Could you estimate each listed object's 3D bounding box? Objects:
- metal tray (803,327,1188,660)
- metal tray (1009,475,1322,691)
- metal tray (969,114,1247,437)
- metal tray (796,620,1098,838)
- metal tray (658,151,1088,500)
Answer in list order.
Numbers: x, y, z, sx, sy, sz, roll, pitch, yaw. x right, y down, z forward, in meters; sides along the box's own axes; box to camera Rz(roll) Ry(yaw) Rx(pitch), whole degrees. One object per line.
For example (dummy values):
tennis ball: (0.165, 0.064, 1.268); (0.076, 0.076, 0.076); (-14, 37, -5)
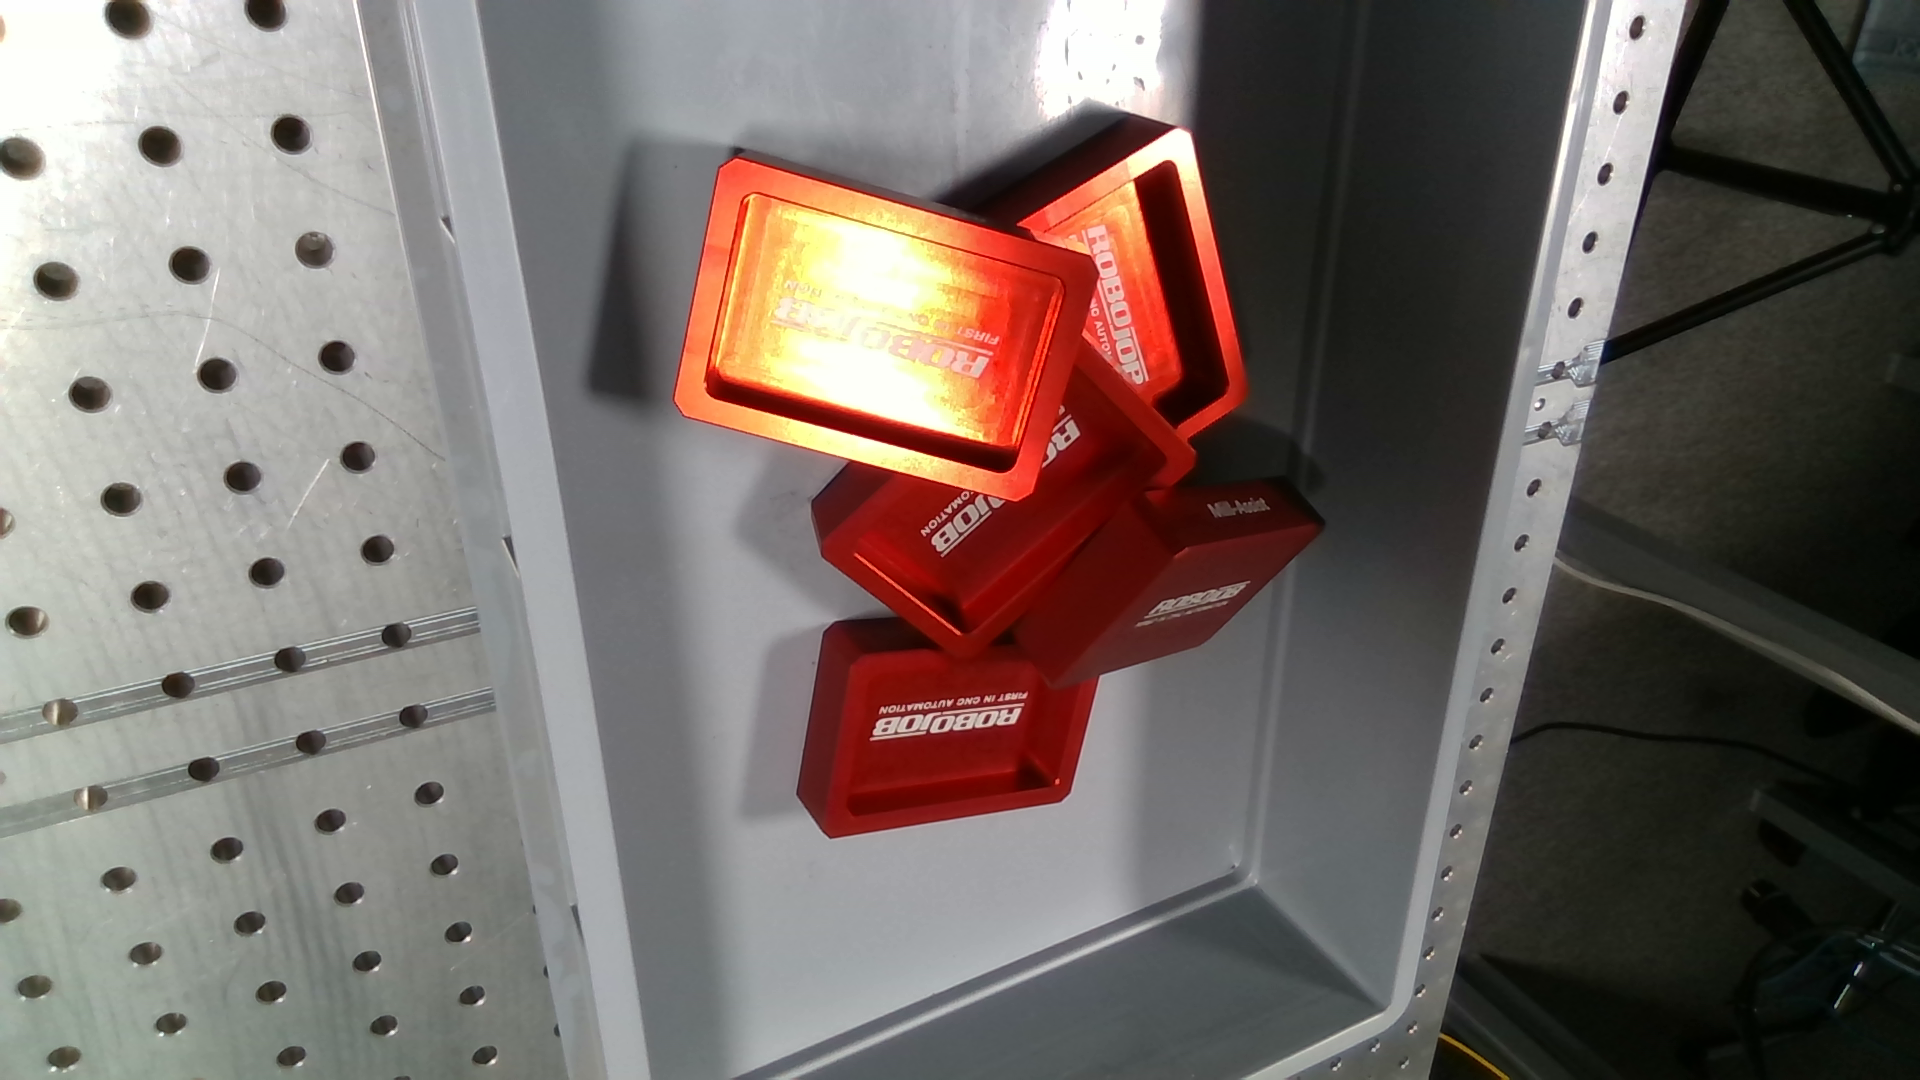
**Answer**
metal tray: (0.013, -0.022, 0.544); (0.130, 0.030, 0.090); (-42, 124, 13)
metal tray: (0.091, 0.016, 0.596); (0.130, 0.030, 0.090); (-8, 144, -49)
metal tray: (0.062, -0.094, 0.563); (0.090, 0.030, 0.130); (-32, 127, -13)
metal tray: (-0.003, 0.080, 0.617); (0.130, 0.030, 0.090); (-2, 116, -31)
metal tray: (-0.031, -0.074, 0.479); (0.130, 0.030, 0.090); (14, 109, -6)
